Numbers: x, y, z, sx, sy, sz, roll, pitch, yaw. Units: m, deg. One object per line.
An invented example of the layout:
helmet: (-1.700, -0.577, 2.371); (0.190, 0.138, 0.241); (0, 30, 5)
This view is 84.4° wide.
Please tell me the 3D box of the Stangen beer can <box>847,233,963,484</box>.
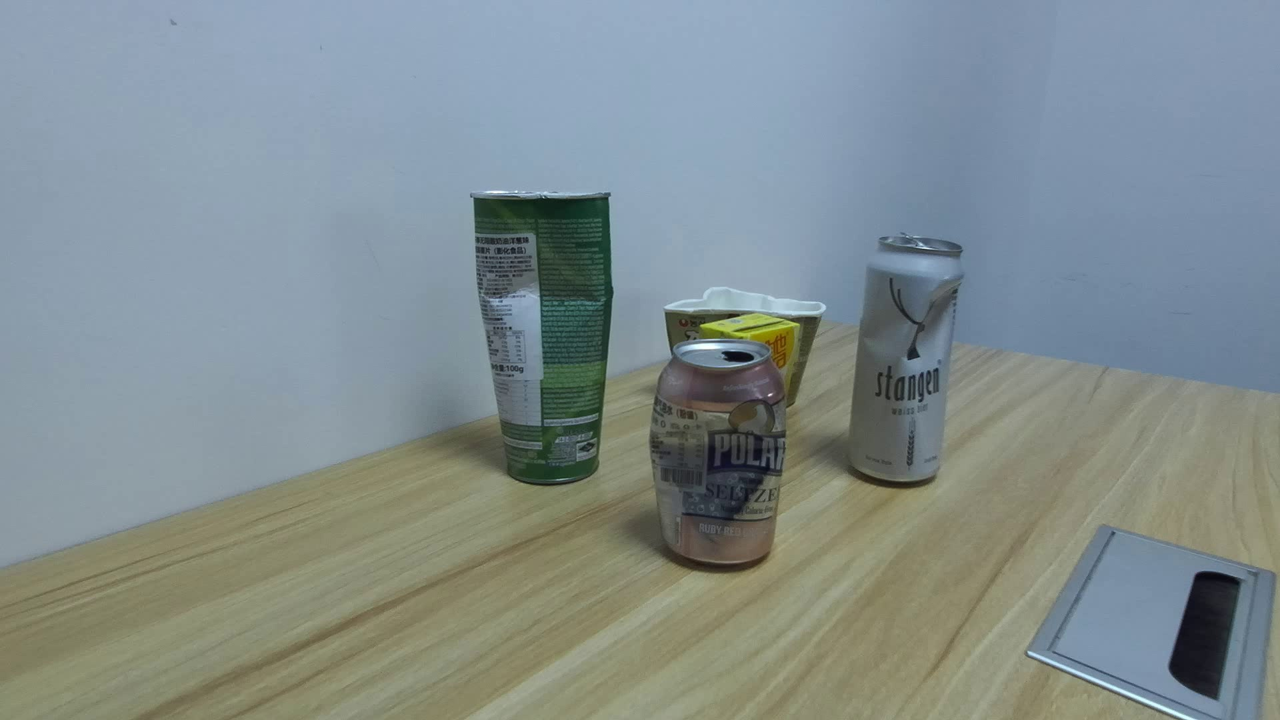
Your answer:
Stangen beer can: (0.187, 0.000, 0.492); (0.070, 0.173, 0.069); (1, 17, 2)

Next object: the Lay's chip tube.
Lay's chip tube: (-0.065, -0.016, 0.499); (0.075, 0.199, 0.068); (-13, 20, -38)

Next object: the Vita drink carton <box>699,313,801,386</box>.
Vita drink carton: (0.080, 0.024, 0.519); (0.077, 0.109, 0.043); (-15, 24, -39)

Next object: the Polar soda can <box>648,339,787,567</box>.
Polar soda can: (0.047, 0.052, 0.399); (0.067, 0.122, 0.074); (-17, 24, -38)

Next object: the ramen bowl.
ramen bowl: (0.102, -0.011, 0.657); (0.133, 0.097, 0.114); (7, 18, 27)
